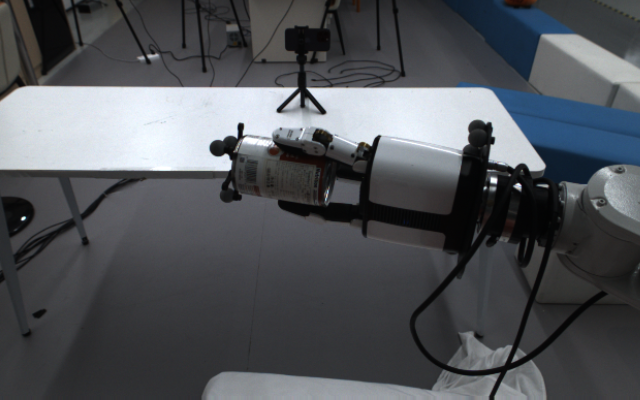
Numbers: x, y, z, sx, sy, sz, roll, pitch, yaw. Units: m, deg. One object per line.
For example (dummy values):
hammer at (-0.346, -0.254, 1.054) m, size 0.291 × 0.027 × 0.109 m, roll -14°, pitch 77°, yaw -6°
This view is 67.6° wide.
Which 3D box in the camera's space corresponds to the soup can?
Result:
soup can at (-0.035, -0.033, 0.531) m, size 0.101 × 0.067 × 0.067 m, roll 9°, pitch 35°, yaw 9°
